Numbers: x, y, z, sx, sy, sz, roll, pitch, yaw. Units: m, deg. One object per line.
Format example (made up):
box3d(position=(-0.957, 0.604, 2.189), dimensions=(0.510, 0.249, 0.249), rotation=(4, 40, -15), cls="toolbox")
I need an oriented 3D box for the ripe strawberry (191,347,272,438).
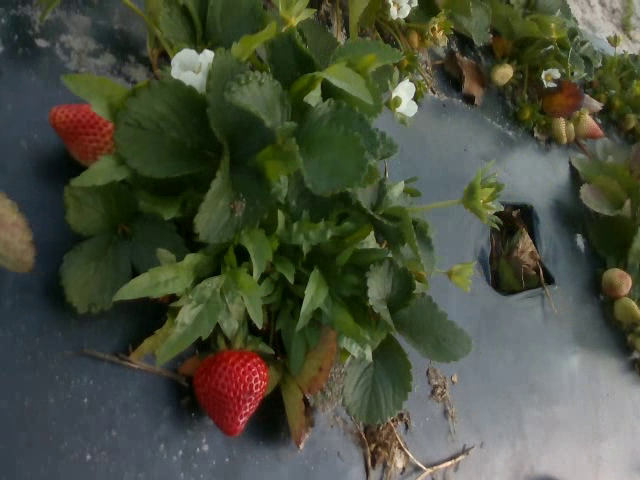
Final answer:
box3d(position=(-0.048, 0.081, 0.318), dimensions=(0.043, 0.051, 0.042), rotation=(19, -33, -39), cls="ripe strawberry")
